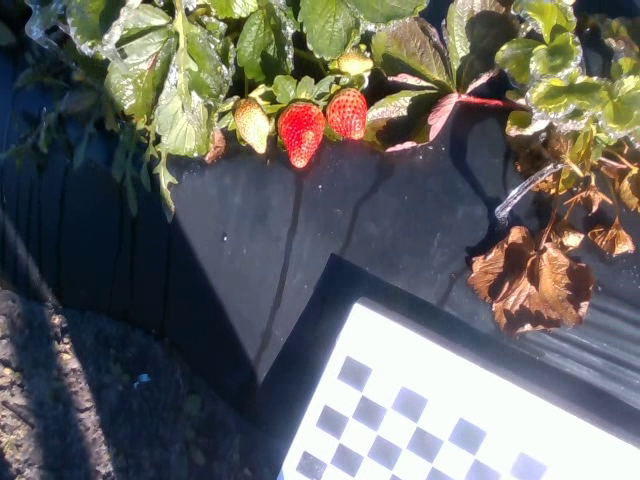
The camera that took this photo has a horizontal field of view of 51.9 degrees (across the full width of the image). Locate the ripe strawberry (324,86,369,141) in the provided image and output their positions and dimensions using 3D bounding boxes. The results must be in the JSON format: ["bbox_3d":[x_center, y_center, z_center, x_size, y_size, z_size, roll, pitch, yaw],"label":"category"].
[{"bbox_3d":[0.023,-0.090,0.467,0.036,0.041,0.030,-40,-9,24],"label":"ripe strawberry"}]

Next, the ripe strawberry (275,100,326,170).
[{"bbox_3d":[-0.013,-0.072,0.466,0.036,0.052,0.039,-13,-30,23],"label":"ripe strawberry"}]
